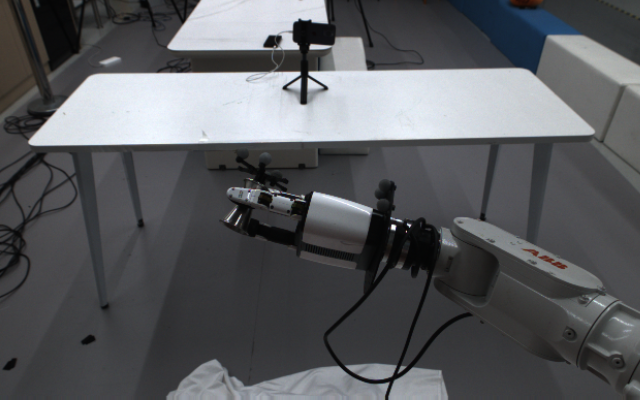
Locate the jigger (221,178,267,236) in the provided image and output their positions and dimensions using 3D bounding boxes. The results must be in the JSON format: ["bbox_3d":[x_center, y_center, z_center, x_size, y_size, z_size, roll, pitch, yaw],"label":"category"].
[{"bbox_3d":[-0.103,0.006,0.659,0.043,0.043,0.071,20,73,23],"label":"jigger"}]
